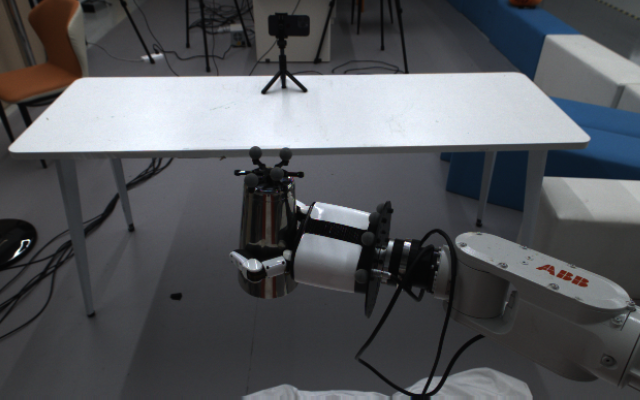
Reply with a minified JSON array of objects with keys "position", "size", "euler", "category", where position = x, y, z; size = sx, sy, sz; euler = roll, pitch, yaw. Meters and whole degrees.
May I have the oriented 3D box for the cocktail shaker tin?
[{"position":[-0.068,0.043,0.671],"size":[0.093,0.170,0.093],"euler":[3,34,-2],"category":"cocktail shaker tin"}]
